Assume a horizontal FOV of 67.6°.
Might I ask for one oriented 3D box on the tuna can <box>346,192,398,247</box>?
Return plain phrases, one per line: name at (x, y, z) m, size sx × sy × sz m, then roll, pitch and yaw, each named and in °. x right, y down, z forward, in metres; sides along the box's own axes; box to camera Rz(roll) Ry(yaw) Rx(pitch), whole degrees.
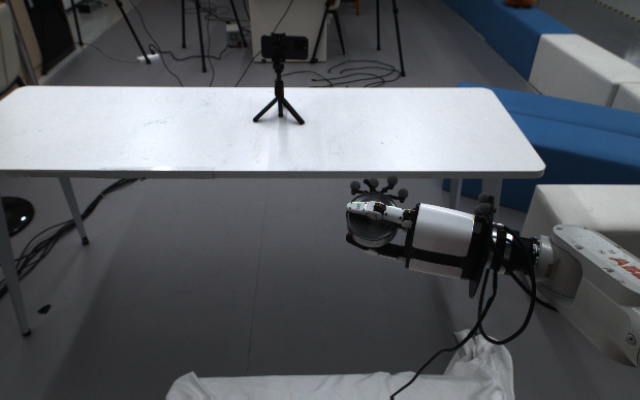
tuna can at (0.084, 0.027, 0.771) m, size 0.085 × 0.034 × 0.085 m, roll -2°, pitch 56°, yaw 4°
